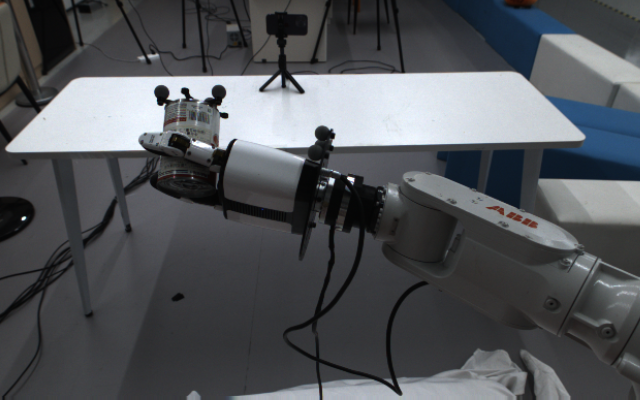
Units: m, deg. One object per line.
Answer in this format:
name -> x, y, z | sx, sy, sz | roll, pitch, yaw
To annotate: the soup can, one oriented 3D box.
soup can -> -0.155, -0.060, 0.577 | 0.067, 0.067, 0.101 | 1, 73, -2
